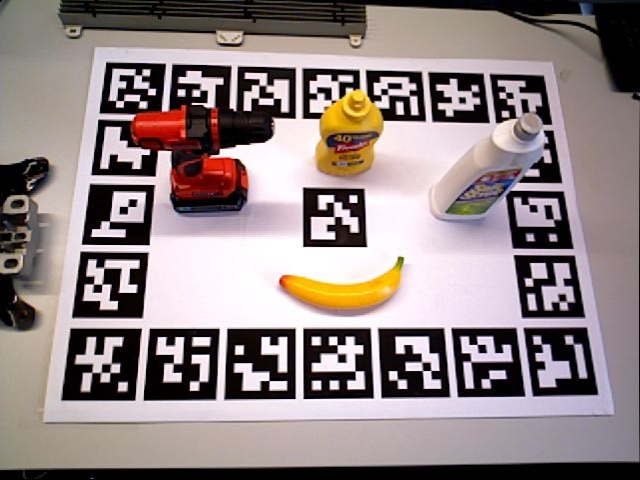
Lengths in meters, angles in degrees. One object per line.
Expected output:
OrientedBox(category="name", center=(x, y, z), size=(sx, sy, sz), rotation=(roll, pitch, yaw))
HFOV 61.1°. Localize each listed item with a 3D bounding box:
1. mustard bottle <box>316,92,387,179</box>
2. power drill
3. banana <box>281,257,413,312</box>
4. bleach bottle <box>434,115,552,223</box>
OrientedBox(category="mustard bottle", center=(0.051, -0.155, 0.793), size=(0.095, 0.194, 0.058), rotation=(-6, 72, -9))
OrientedBox(category="power drill", center=(-0.134, -0.125, 0.739), size=(0.183, 0.189, 0.057), rotation=(-5, 72, -2))
OrientedBox(category="banana", center=(0.043, 0.069, 0.793), size=(0.196, 0.039, 0.074), rotation=(-5, 75, -2))
OrientedBox(category="bleach bottle", center=(0.244, -0.100, 0.755), size=(0.102, 0.254, 0.067), rotation=(9, 71, -2))
